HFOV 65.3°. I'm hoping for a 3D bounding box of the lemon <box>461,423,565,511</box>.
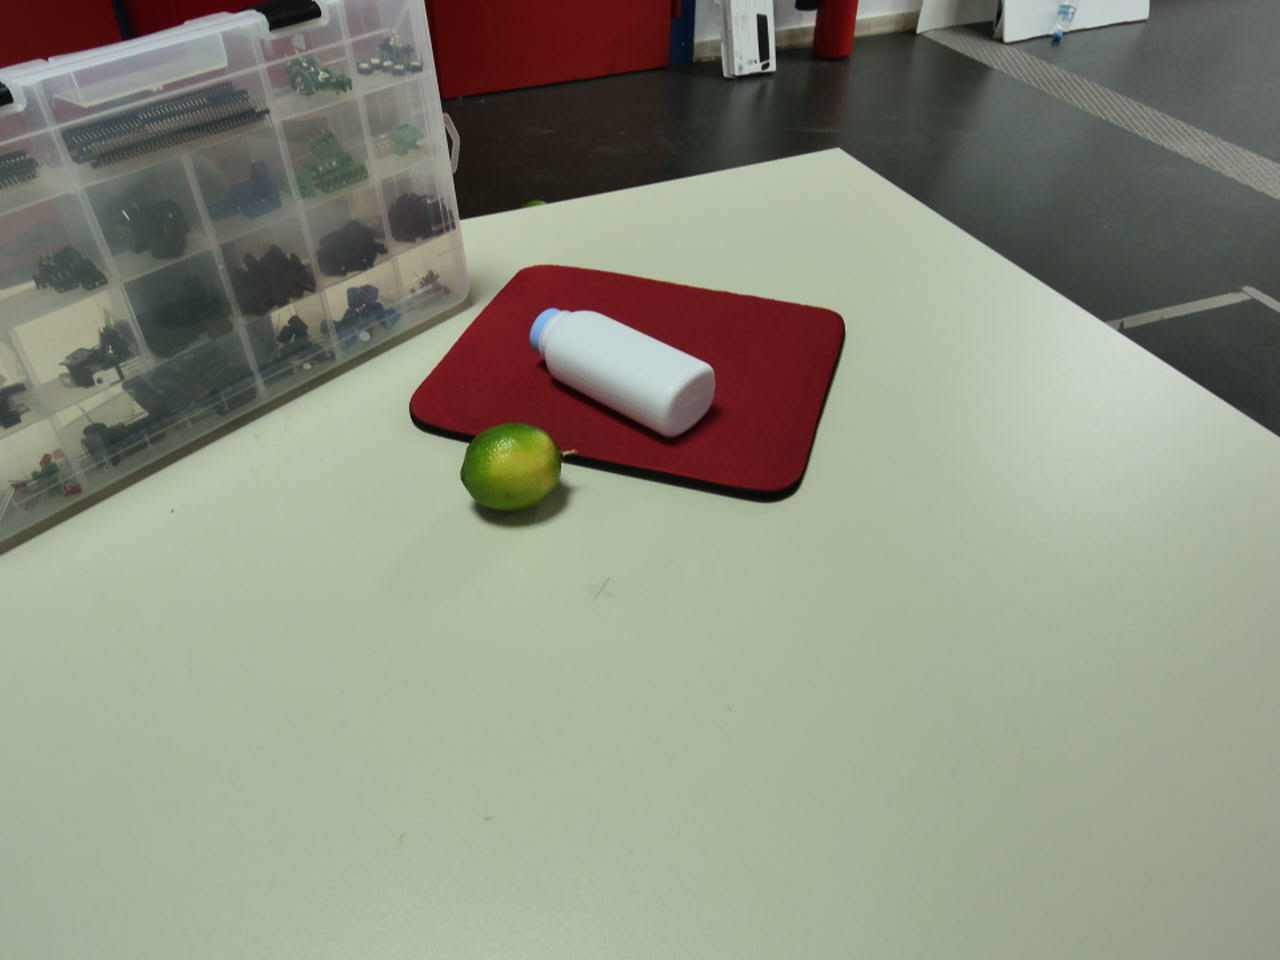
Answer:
[{"bbox_3d":[-0.075,-0.007,0.587,0.055,0.050,0.054,18,41,19],"label":"lemon"}]
